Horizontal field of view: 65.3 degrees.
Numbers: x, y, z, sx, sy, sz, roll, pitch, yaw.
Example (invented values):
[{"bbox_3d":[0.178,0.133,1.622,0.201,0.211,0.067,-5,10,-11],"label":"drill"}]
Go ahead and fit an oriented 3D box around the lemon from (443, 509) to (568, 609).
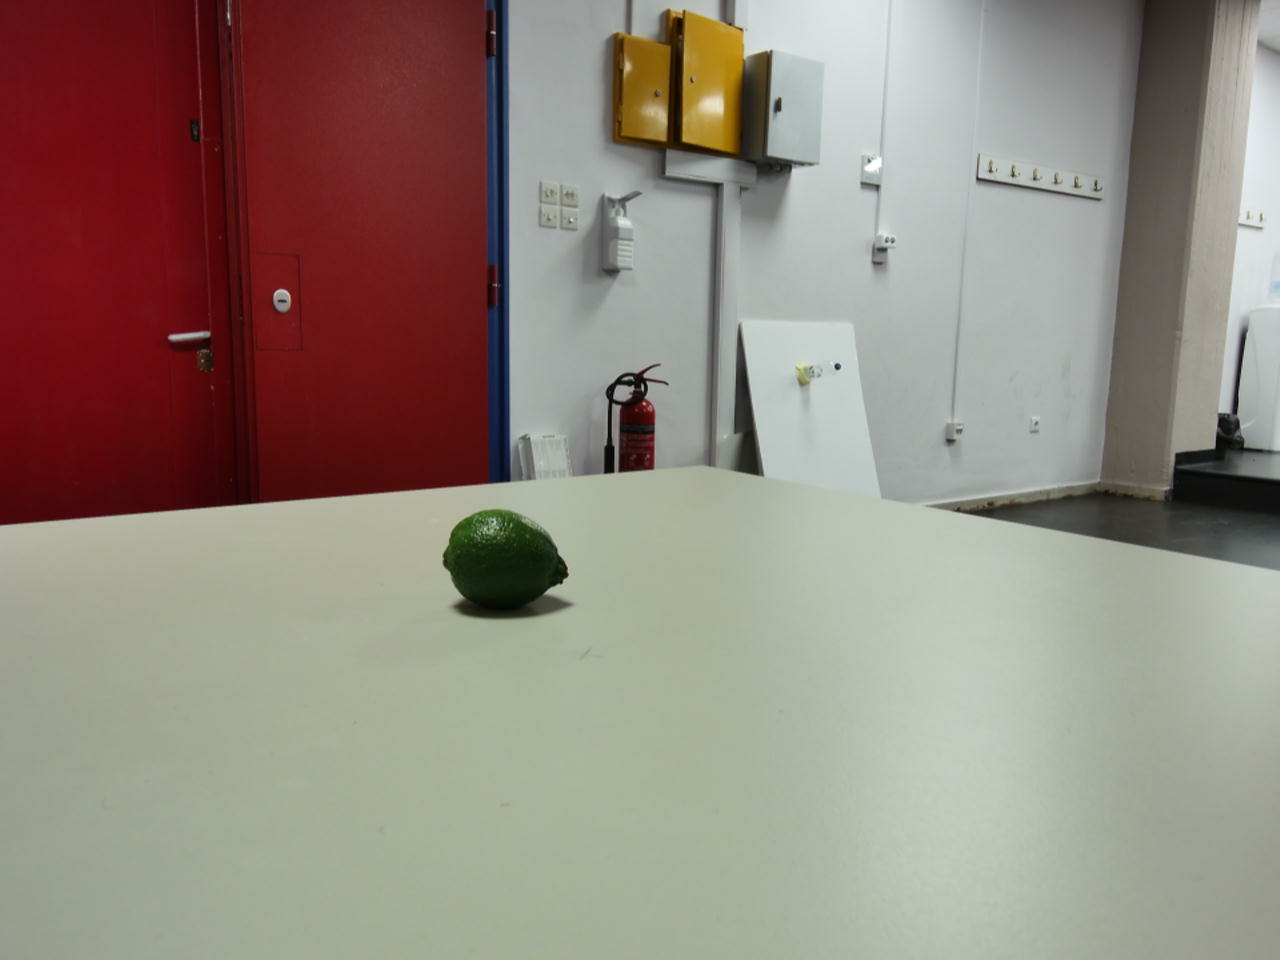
[{"bbox_3d":[-0.072,0.040,0.519,0.057,0.051,0.054,-5,8,-40],"label":"lemon"}]
